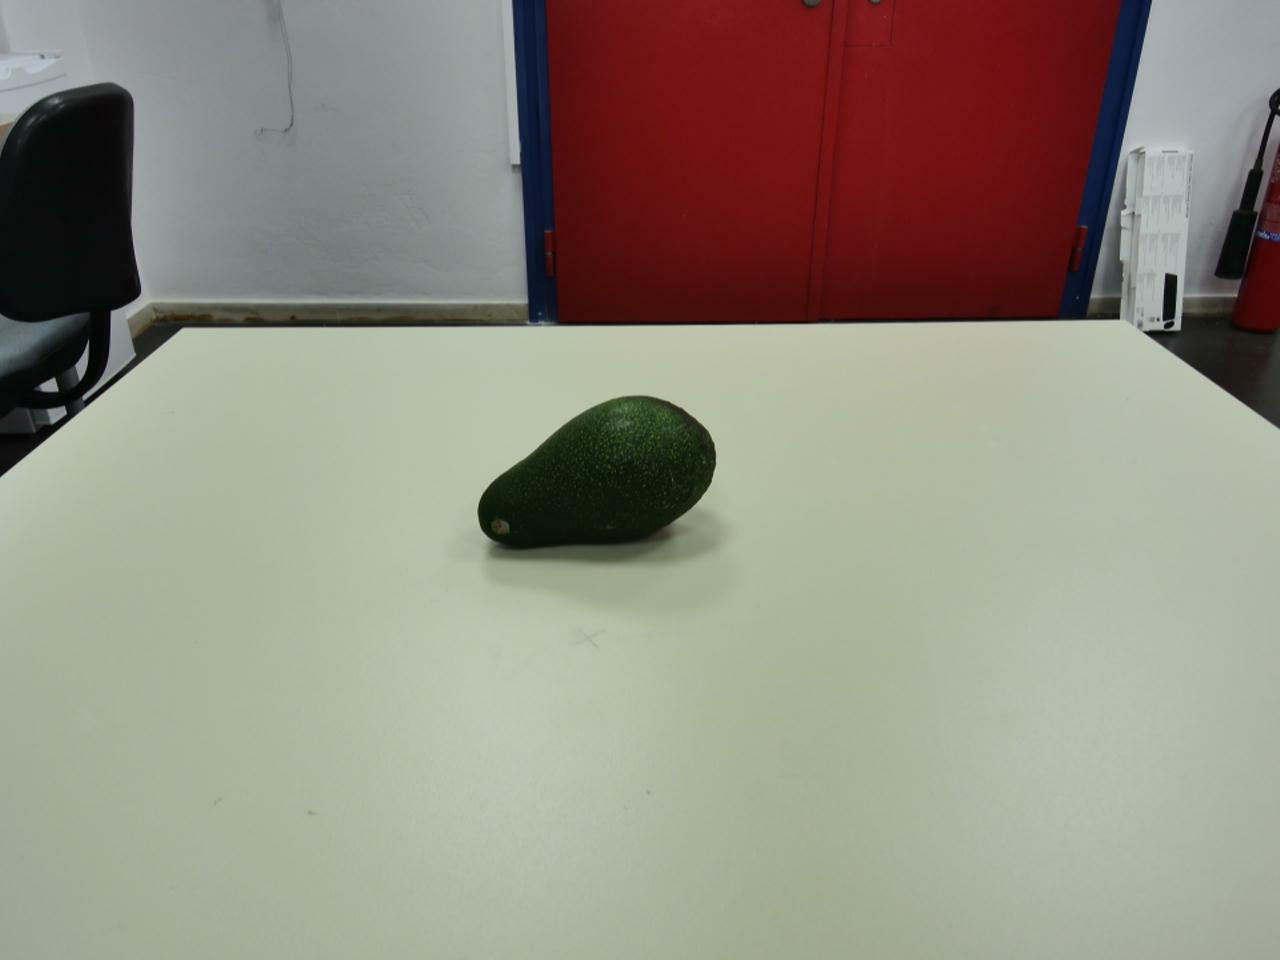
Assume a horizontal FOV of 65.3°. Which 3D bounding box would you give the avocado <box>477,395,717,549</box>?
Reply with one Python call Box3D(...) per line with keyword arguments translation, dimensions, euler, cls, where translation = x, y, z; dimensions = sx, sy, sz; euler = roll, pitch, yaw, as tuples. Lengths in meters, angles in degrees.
Box3D(translation=(-0.021, -0.007, 0.527), dimensions=(0.123, 0.076, 0.074), euler=(3, 26, 5), cls="avocado")
